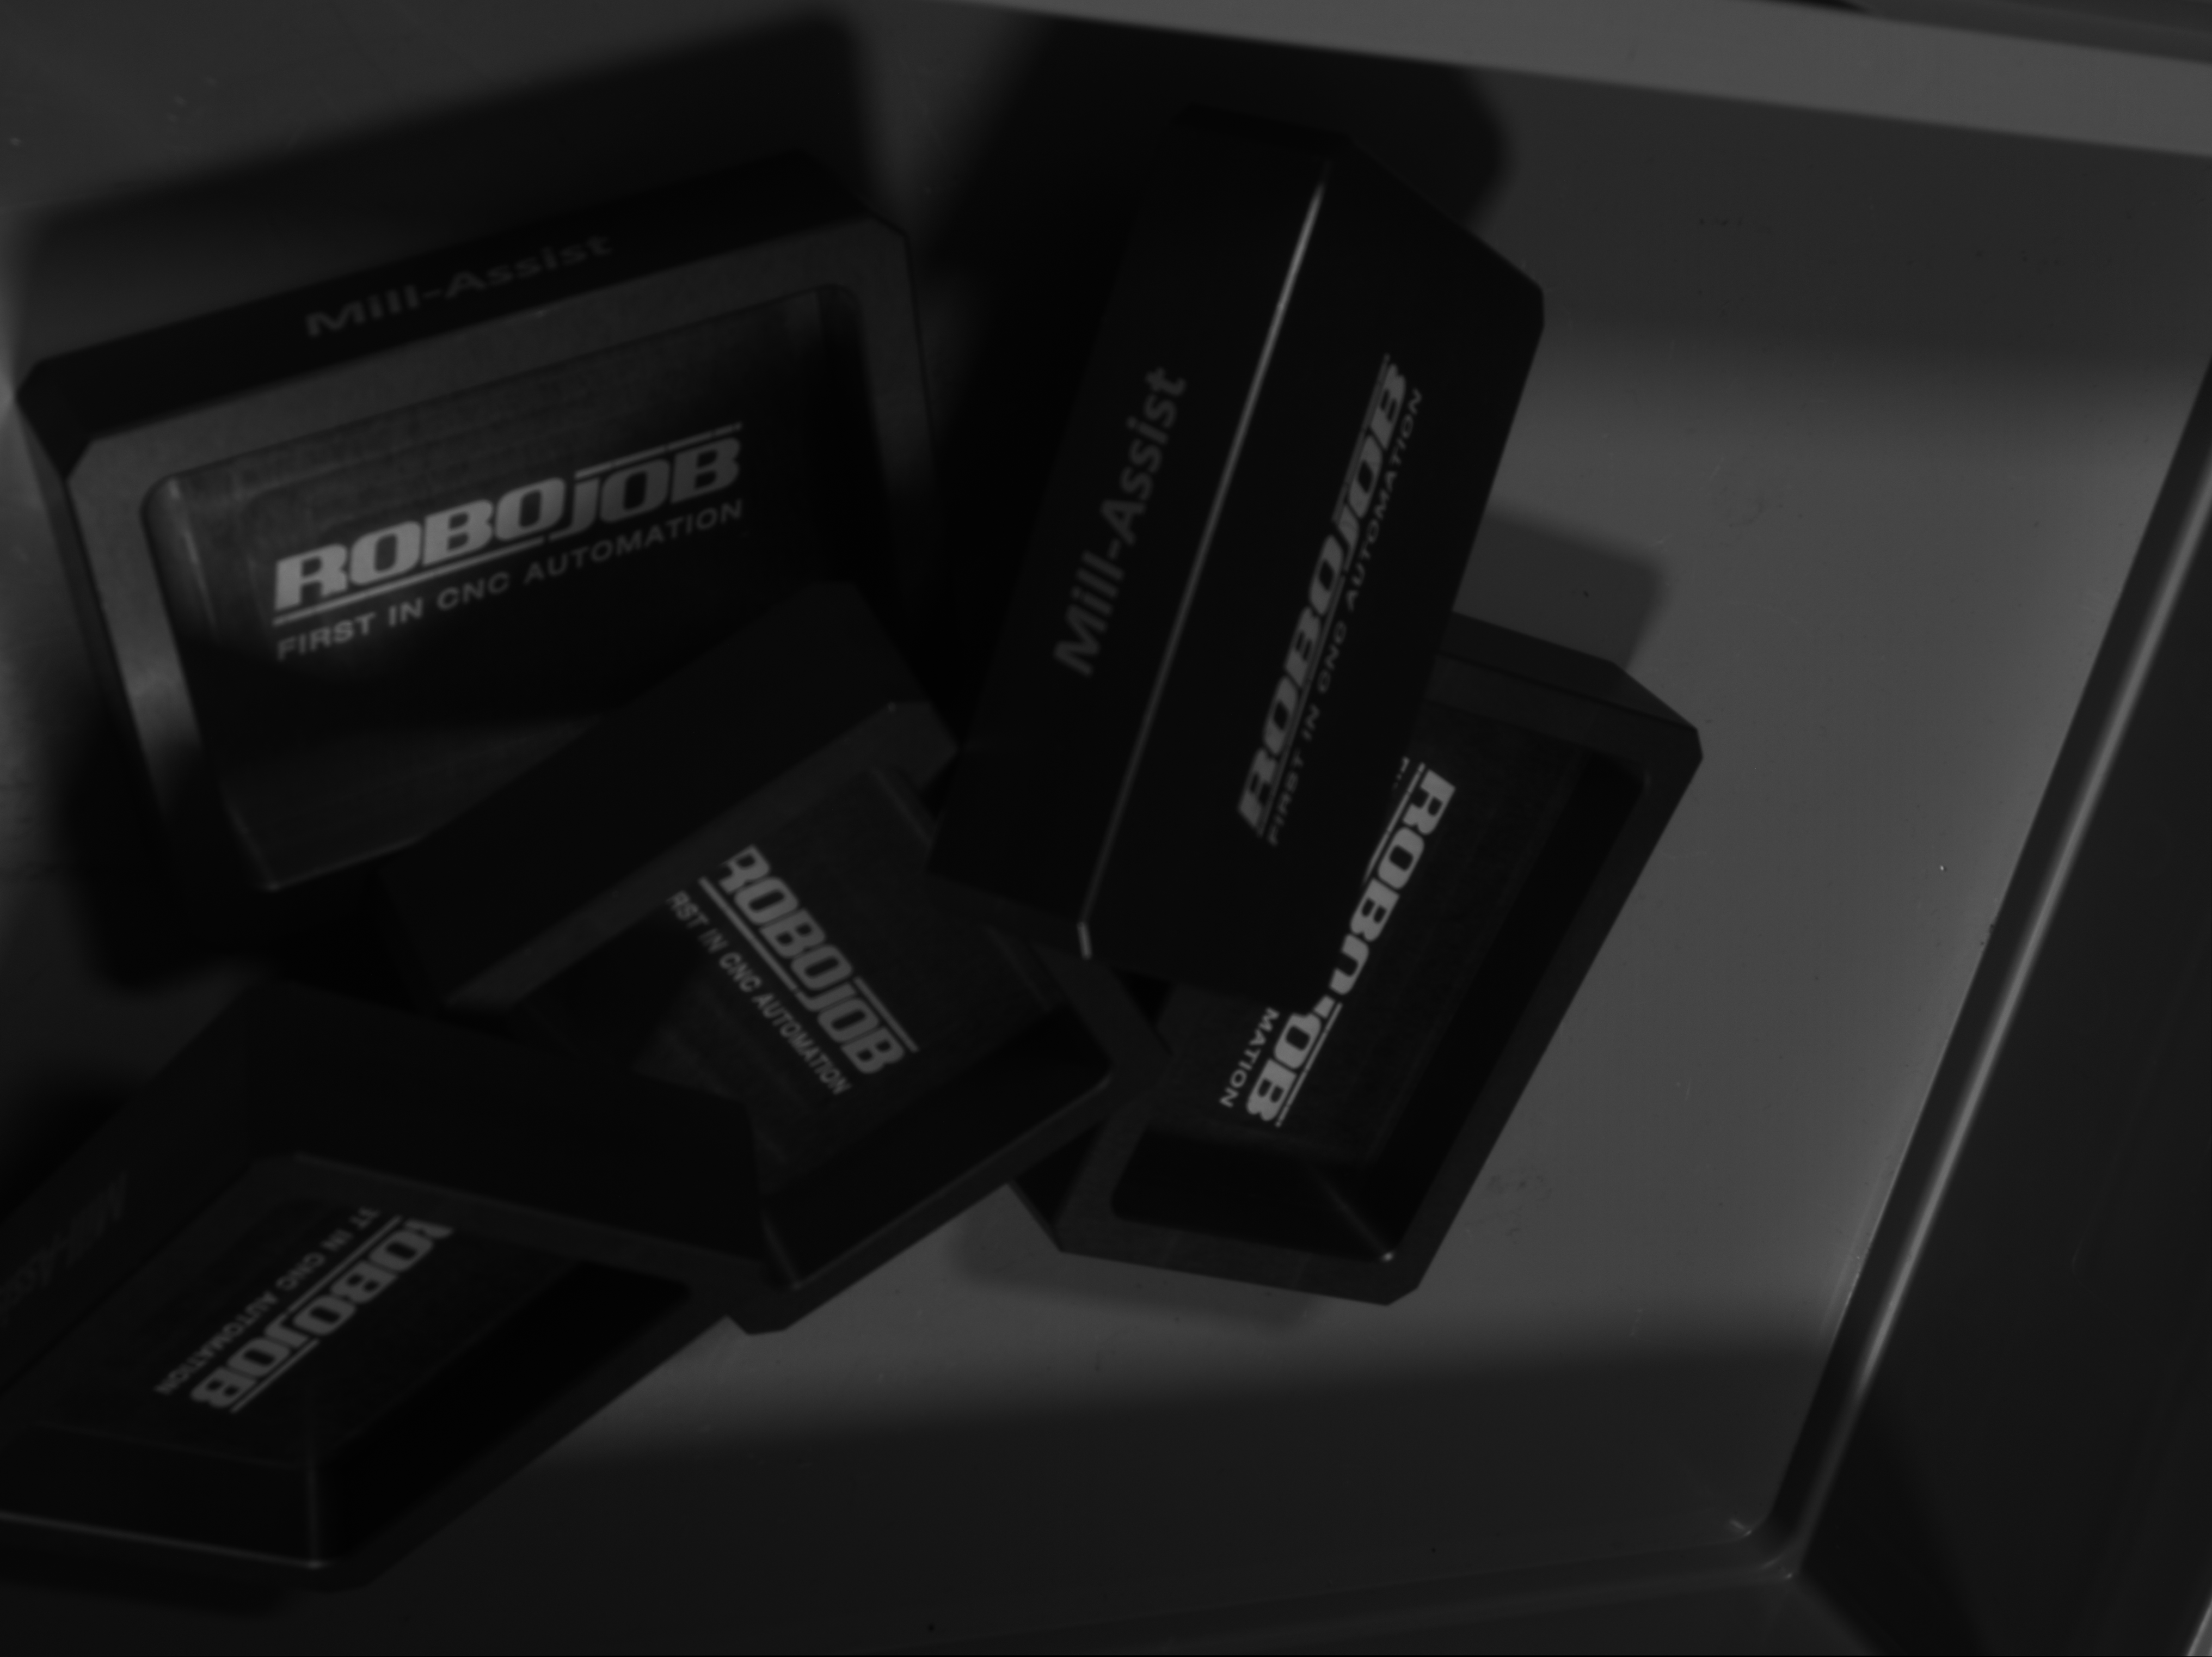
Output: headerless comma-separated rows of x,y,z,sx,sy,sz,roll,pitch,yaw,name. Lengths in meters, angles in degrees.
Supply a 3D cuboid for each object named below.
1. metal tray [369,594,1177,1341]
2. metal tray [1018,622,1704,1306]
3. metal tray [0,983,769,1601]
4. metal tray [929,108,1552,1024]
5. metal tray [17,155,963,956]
-0.051,0.027,0.605,0.090,0.030,0.130,-33,145,0,metal tray
0.045,0.023,0.687,0.090,0.030,0.130,14,111,-35,metal tray
-0.126,0.078,0.582,0.090,0.030,0.130,19,136,-37,metal tray
0.024,-0.039,0.591,0.090,0.030,0.130,19,89,-61,metal tray
-0.091,-0.043,0.566,0.130,0.030,0.090,-19,126,-19,metal tray
